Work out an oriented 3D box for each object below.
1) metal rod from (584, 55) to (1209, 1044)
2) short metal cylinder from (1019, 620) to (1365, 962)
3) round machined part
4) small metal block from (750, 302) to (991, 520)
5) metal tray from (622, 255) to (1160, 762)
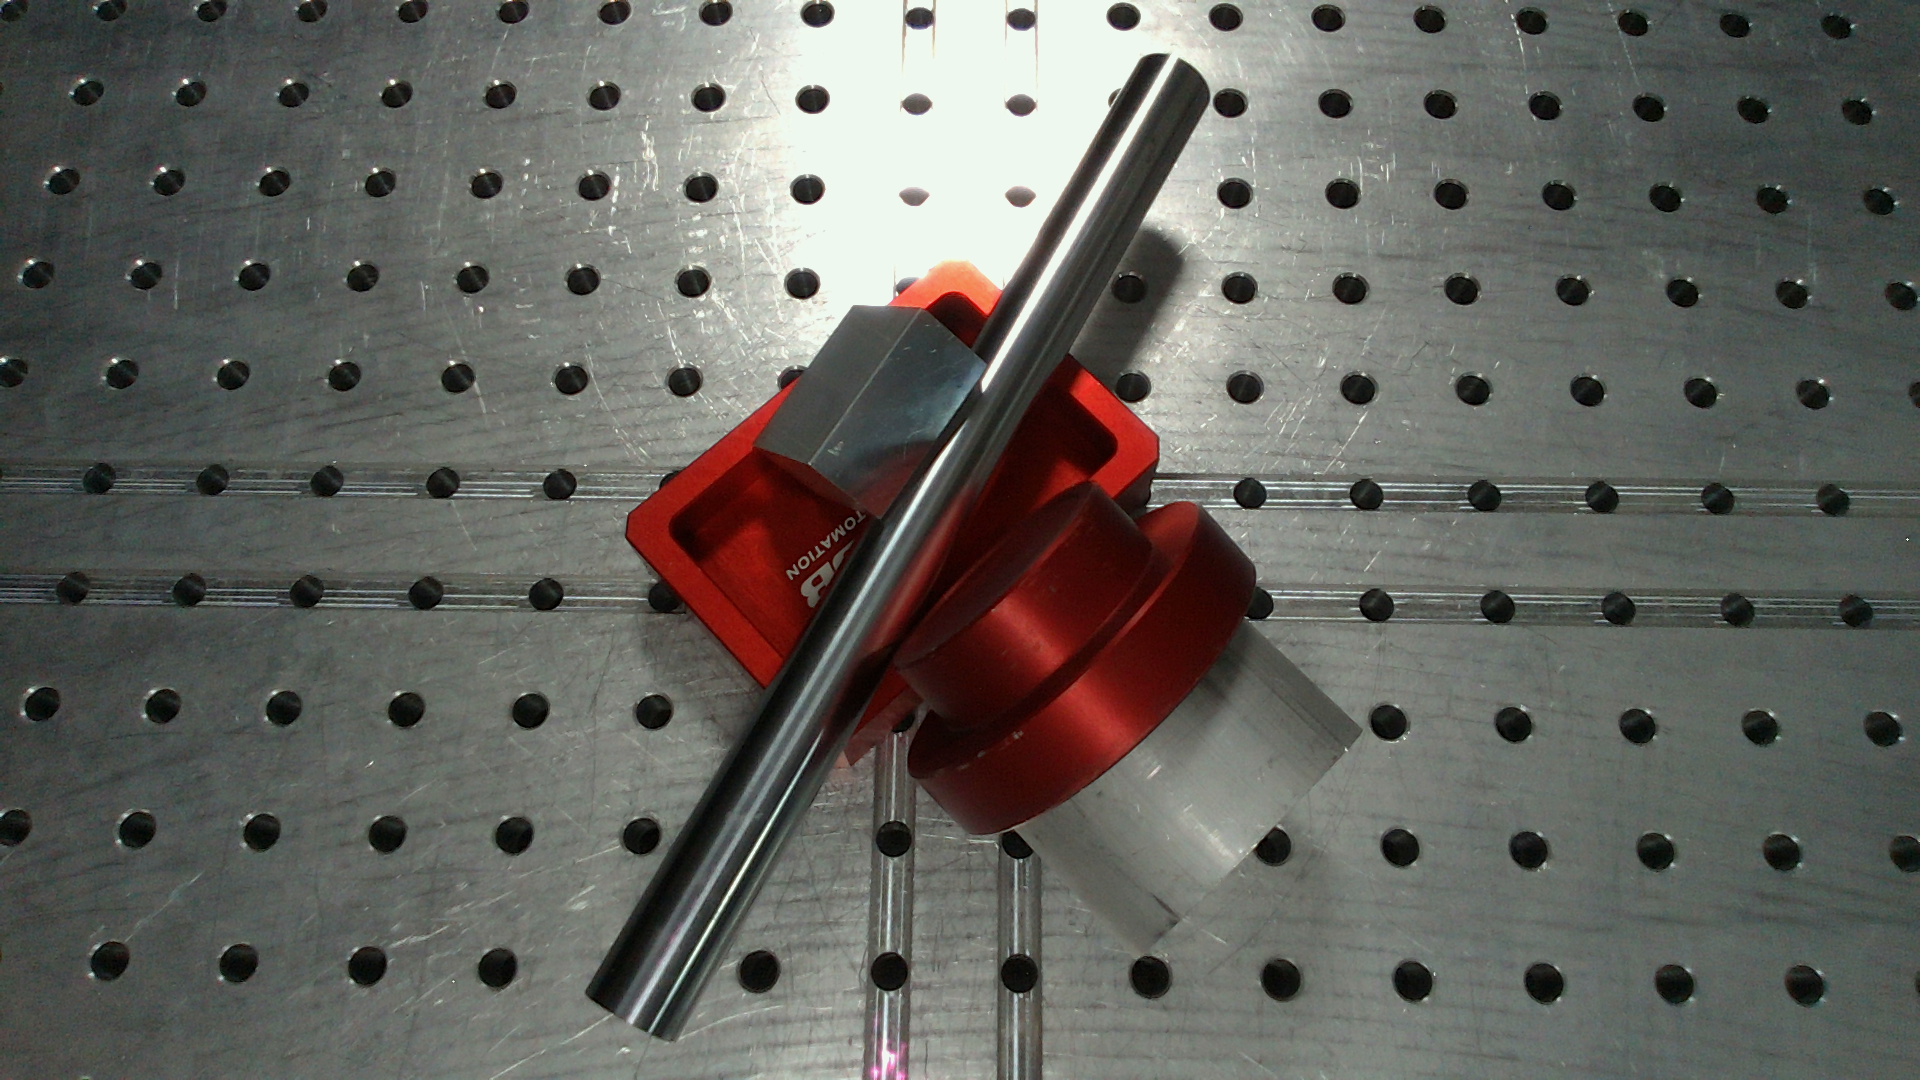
[{"bbox_3d":[-0.007,-0.012,0.369,0.025,0.025,0.300,26,72,9],"label":"metal rod"},{"bbox_3d":[0.055,0.058,0.345,0.080,0.080,0.050,-42,75,-14],"label":"short metal cylinder"},{"bbox_3d":[0.022,0.023,0.339,0.098,0.098,0.042,-45,98,-14],"label":"round machined part"},{"bbox_3d":[-0.025,-0.037,0.374,0.025,0.050,0.050,38,82,-26],"label":"small metal block"},{"bbox_3d":[-0.018,-0.011,0.398,0.130,0.030,0.090,-42,75,-14],"label":"metal tray"}]
